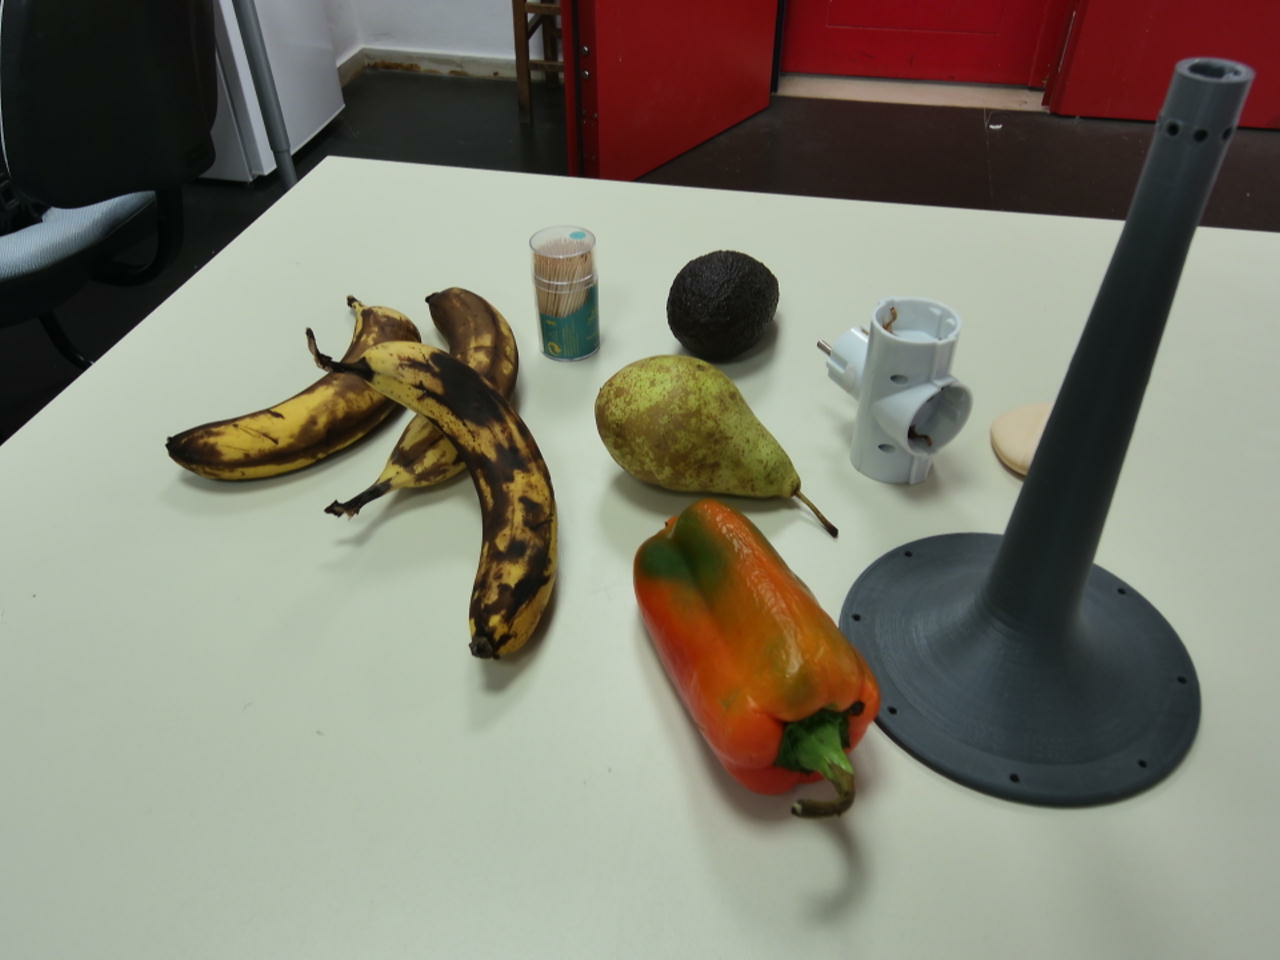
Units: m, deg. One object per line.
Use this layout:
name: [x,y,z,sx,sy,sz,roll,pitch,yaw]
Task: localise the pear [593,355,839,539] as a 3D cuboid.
pear: [0.041,-0.027,0.520,0.128,0.075,0.071,4,39,4]
